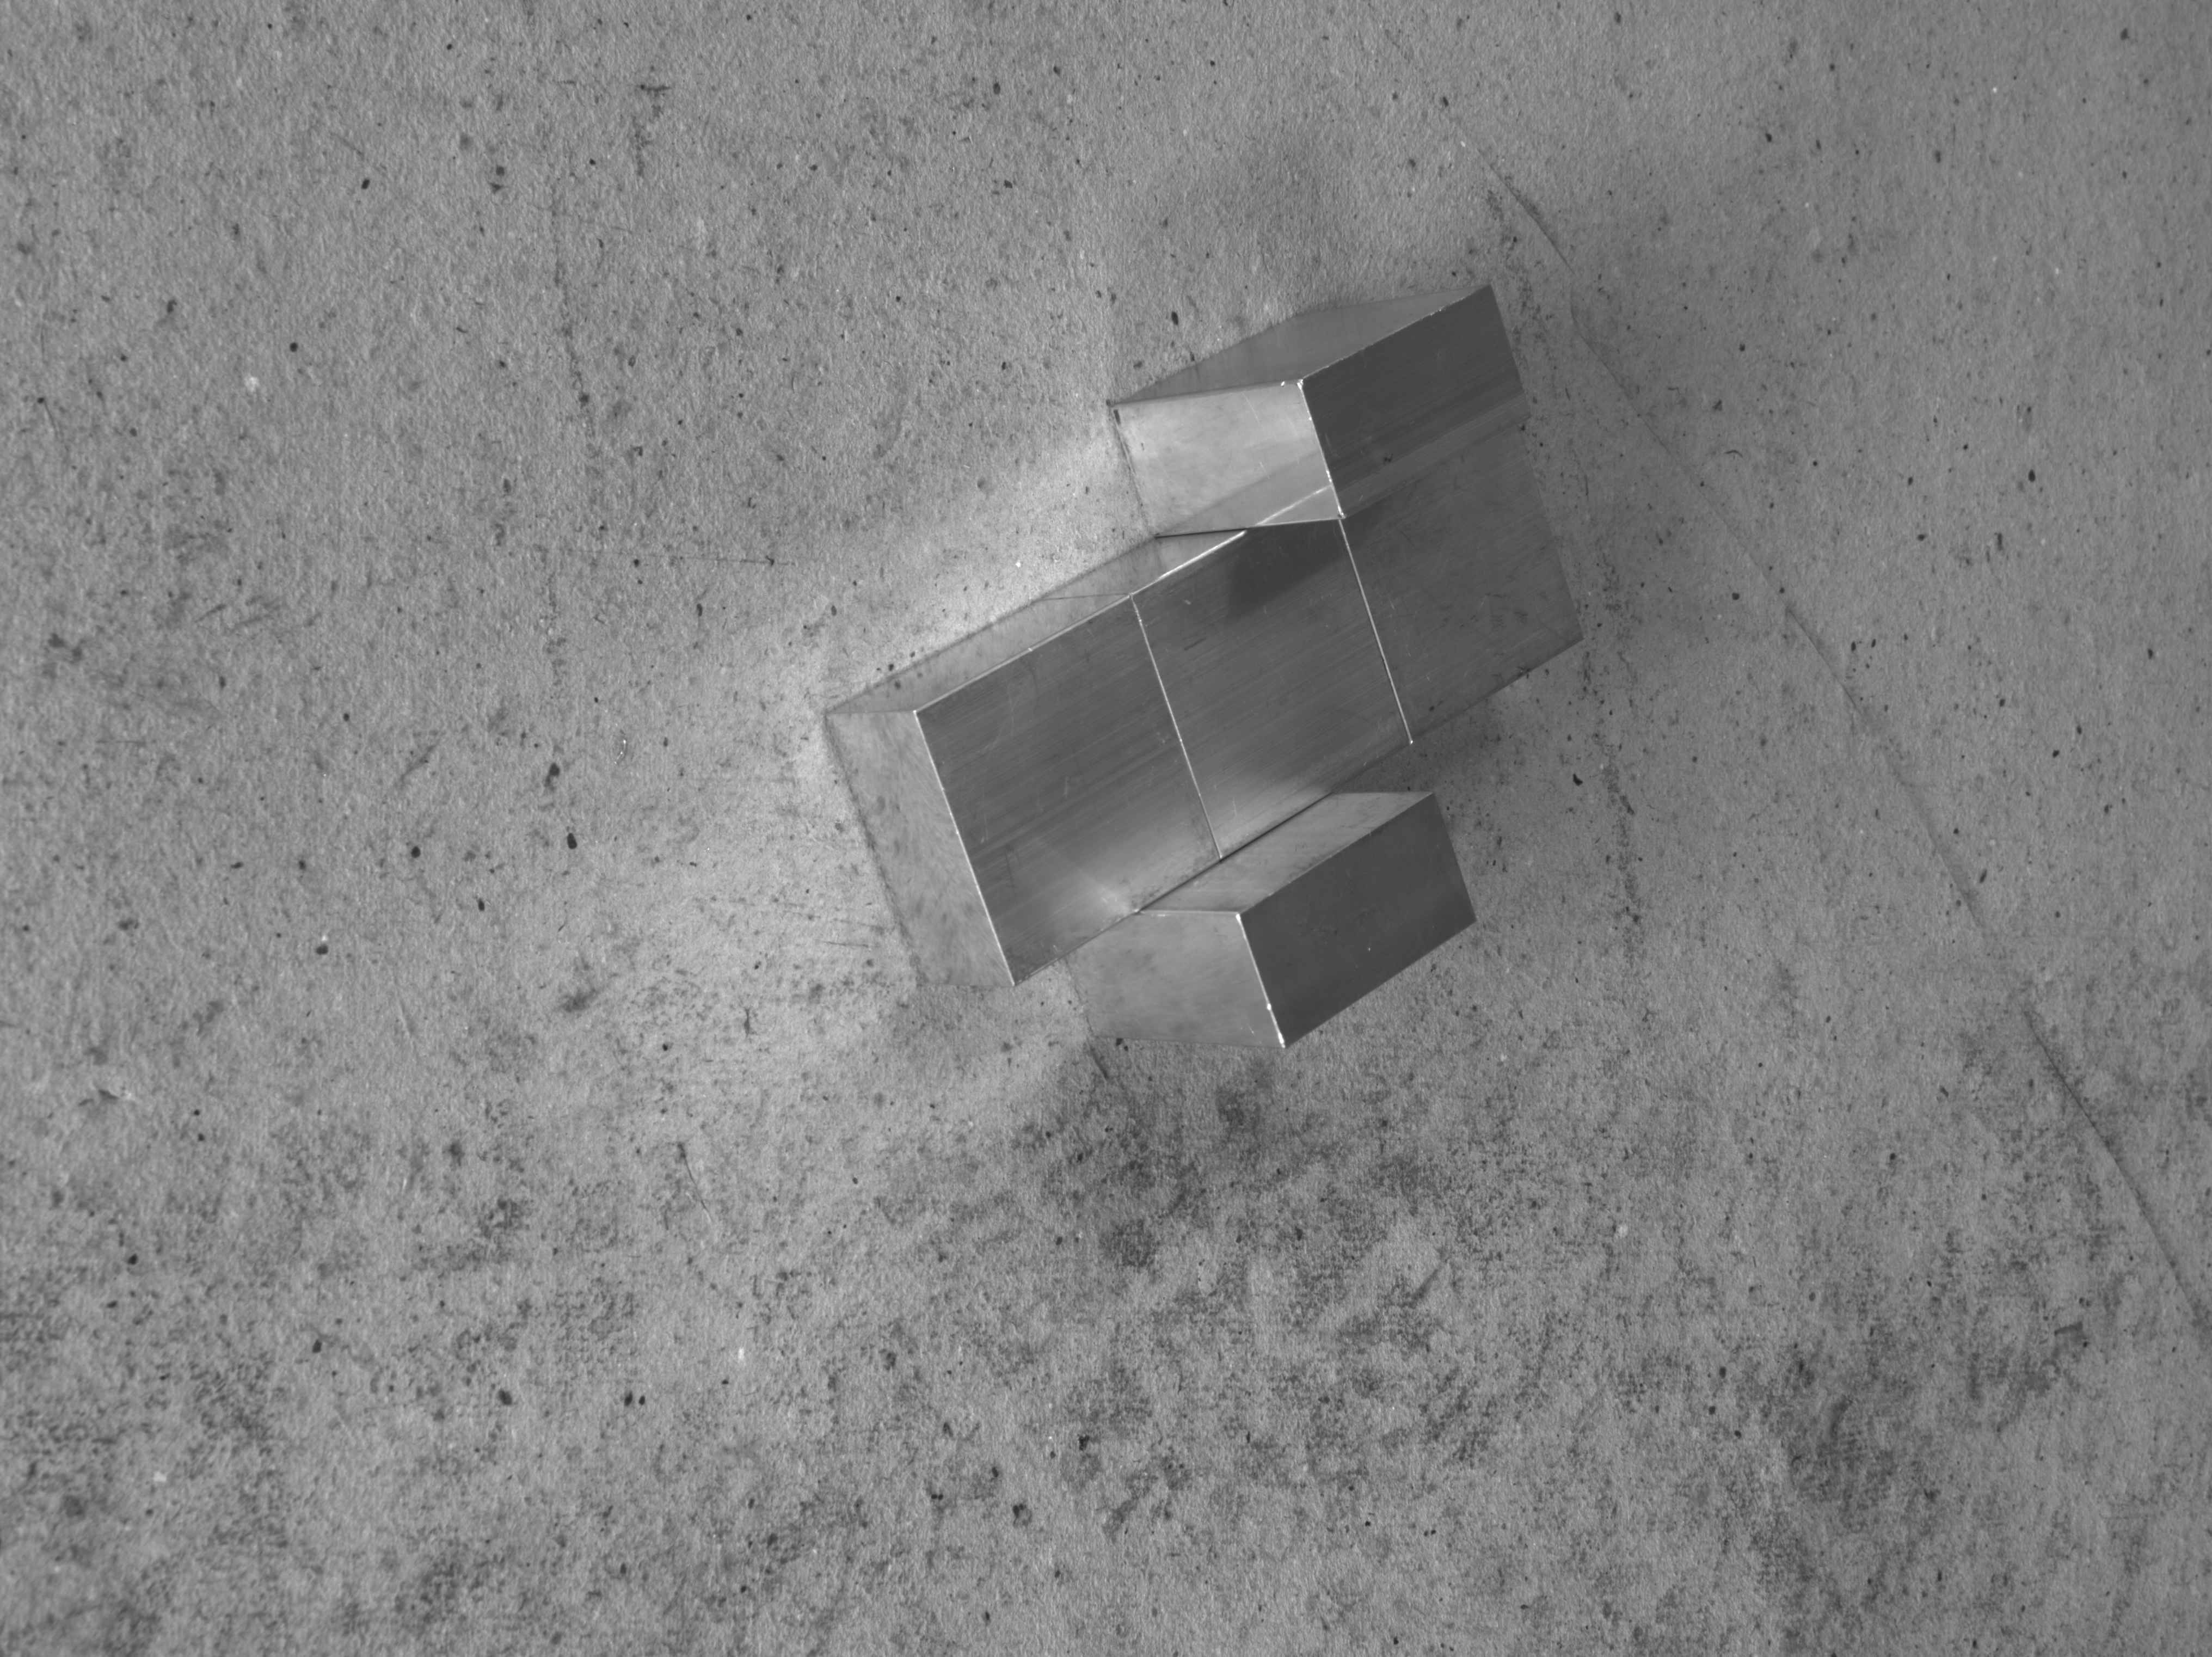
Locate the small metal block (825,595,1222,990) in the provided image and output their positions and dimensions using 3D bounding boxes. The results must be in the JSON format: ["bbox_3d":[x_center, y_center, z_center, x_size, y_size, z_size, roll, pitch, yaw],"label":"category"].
[{"bbox_3d":[-0.013,-0.007,0.625,0.050,0.025,0.050,-31,109,-36],"label":"small metal block"}]

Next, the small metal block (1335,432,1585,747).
[{"bbox_3d":[0.057,-0.048,0.684,0.050,0.025,0.050,-31,109,-36],"label":"small metal block"}]

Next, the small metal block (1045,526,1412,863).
[{"bbox_3d":[0.022,-0.027,0.655,0.050,0.025,0.050,-31,109,-36],"label":"small metal block"}]

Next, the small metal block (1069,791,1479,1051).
[{"bbox_3d":[0.028,0.016,0.644,0.050,0.050,0.025,-31,108,-35],"label":"small metal block"}]

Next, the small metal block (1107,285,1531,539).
[{"bbox_3d":[0.038,-0.073,0.652,0.050,0.050,0.025,-30,108,-35],"label":"small metal block"}]
